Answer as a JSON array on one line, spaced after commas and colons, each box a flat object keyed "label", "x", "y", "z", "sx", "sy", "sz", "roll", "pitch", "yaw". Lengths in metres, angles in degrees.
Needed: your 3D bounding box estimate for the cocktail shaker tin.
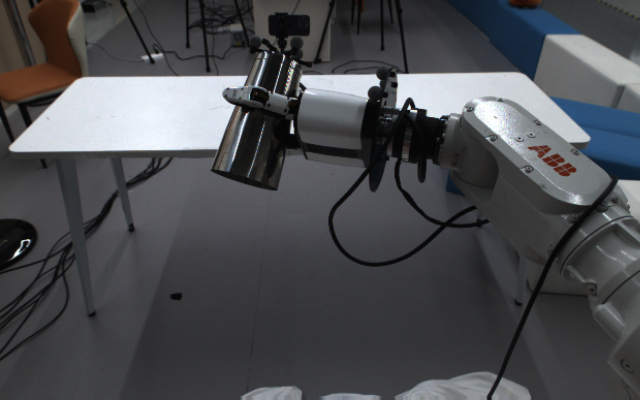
[{"label": "cocktail shaker tin", "x": -0.080, "y": -0.108, "z": 0.651, "sx": 0.093, "sy": 0.170, "sz": 0.093, "roll": 16, "pitch": -7, "yaw": 2}]
